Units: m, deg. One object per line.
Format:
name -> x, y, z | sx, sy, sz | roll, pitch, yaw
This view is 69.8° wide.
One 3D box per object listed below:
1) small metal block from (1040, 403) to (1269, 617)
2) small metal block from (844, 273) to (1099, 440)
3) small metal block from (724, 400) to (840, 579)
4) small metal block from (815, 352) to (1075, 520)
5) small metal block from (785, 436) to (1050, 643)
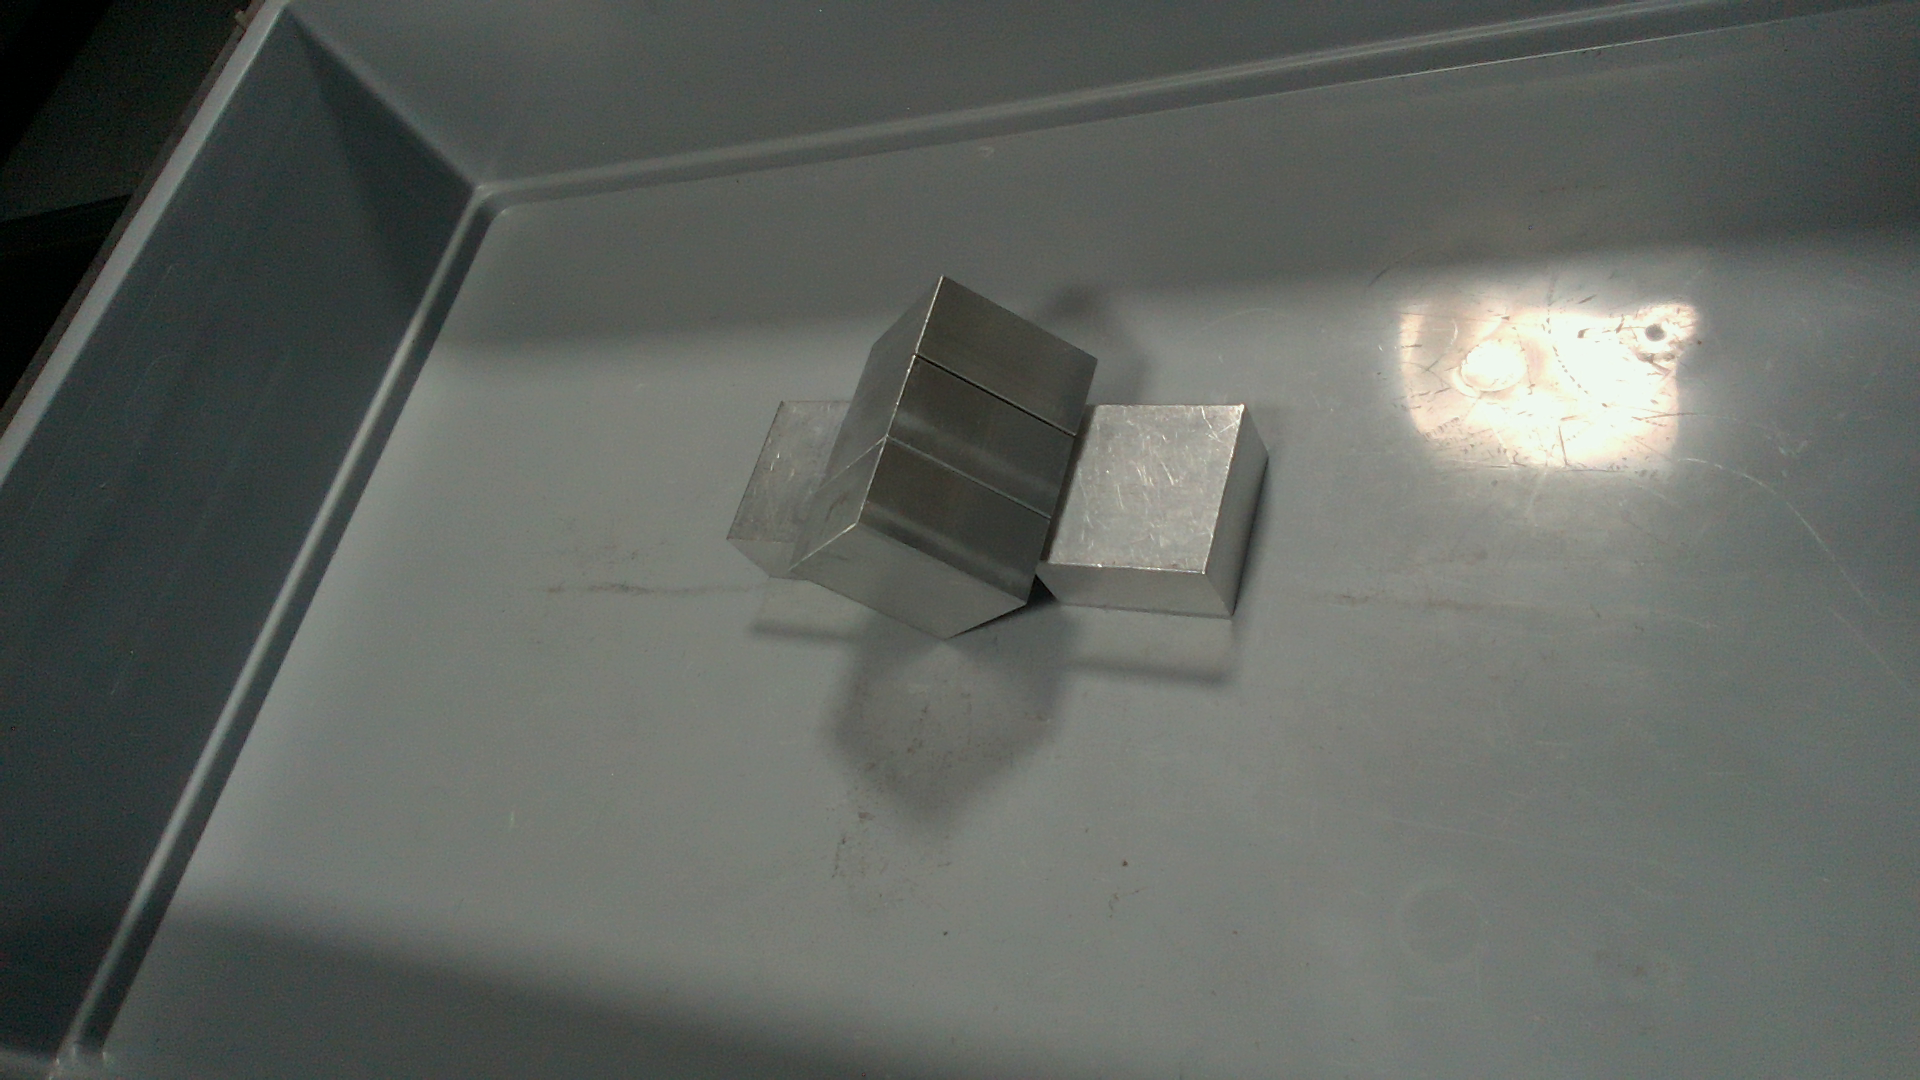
small metal block -> 0.051, -0.009, 0.371 | 0.050, 0.025, 0.050 | 3, 63, 30
small metal block -> 0.002, -0.043, 0.388 | 0.050, 0.050, 0.025 | -29, 39, 59
small metal block -> -0.037, -0.015, 0.422 | 0.050, 0.025, 0.050 | 4, 63, 30
small metal block -> -0.005, -0.021, 0.378 | 0.050, 0.050, 0.025 | -30, 39, 59
small metal block -> -0.012, 0.002, 0.369 | 0.050, 0.050, 0.025 | -30, 39, 59
